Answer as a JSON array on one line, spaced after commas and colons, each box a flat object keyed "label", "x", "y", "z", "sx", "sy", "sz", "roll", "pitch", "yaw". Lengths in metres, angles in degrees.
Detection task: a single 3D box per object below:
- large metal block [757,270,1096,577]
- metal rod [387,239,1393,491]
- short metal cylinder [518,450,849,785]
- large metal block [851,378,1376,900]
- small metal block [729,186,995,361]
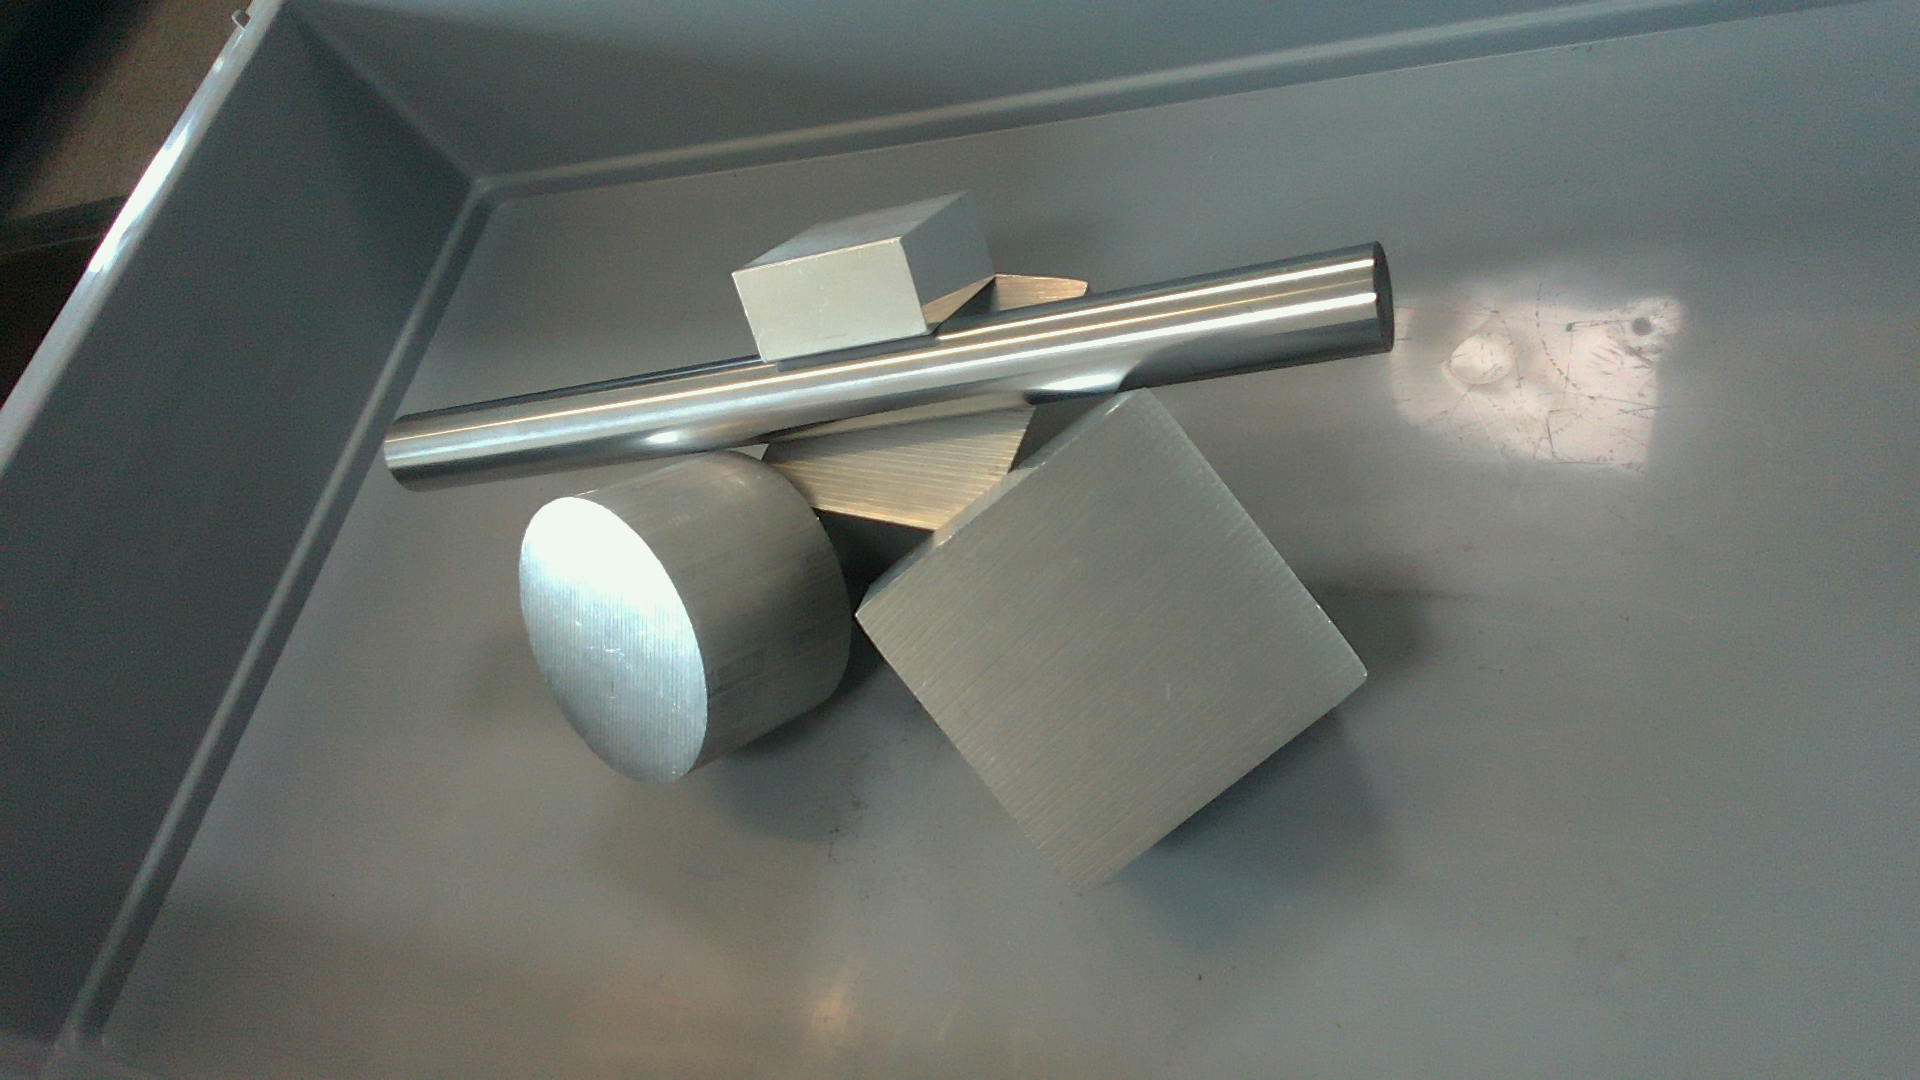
[{"label": "large metal block", "x": -0.003, "y": -0.031, "z": 0.396, "sx": 0.080, "sy": 0.050, "sz": 0.080, "roll": 11, "pitch": 67, "yaw": 33}, {"label": "metal rod", "x": -0.039, "y": -0.041, "z": 0.374, "sx": 0.299, "sy": 0.025, "sz": 0.025, "roll": -6, "pitch": 59, "yaw": 26}, {"label": "short metal cylinder", "x": -0.076, "y": 0.020, "z": 0.378, "sx": 0.080, "sy": 0.080, "sz": 0.050, "roll": 21, "pitch": 30, "yaw": 36}, {"label": "large metal block", "x": 0.033, "y": 0.020, "z": 0.318, "sx": 0.080, "sy": 0.050, "sz": 0.080, "roll": -39, "pitch": 94, "yaw": 2}, {"label": "small metal block", "x": -0.025, "y": -0.072, "z": 0.370, "sx": 0.050, "sy": 0.025, "sz": 0.050, "roll": -6, "pitch": 24, "yaw": 26}]
